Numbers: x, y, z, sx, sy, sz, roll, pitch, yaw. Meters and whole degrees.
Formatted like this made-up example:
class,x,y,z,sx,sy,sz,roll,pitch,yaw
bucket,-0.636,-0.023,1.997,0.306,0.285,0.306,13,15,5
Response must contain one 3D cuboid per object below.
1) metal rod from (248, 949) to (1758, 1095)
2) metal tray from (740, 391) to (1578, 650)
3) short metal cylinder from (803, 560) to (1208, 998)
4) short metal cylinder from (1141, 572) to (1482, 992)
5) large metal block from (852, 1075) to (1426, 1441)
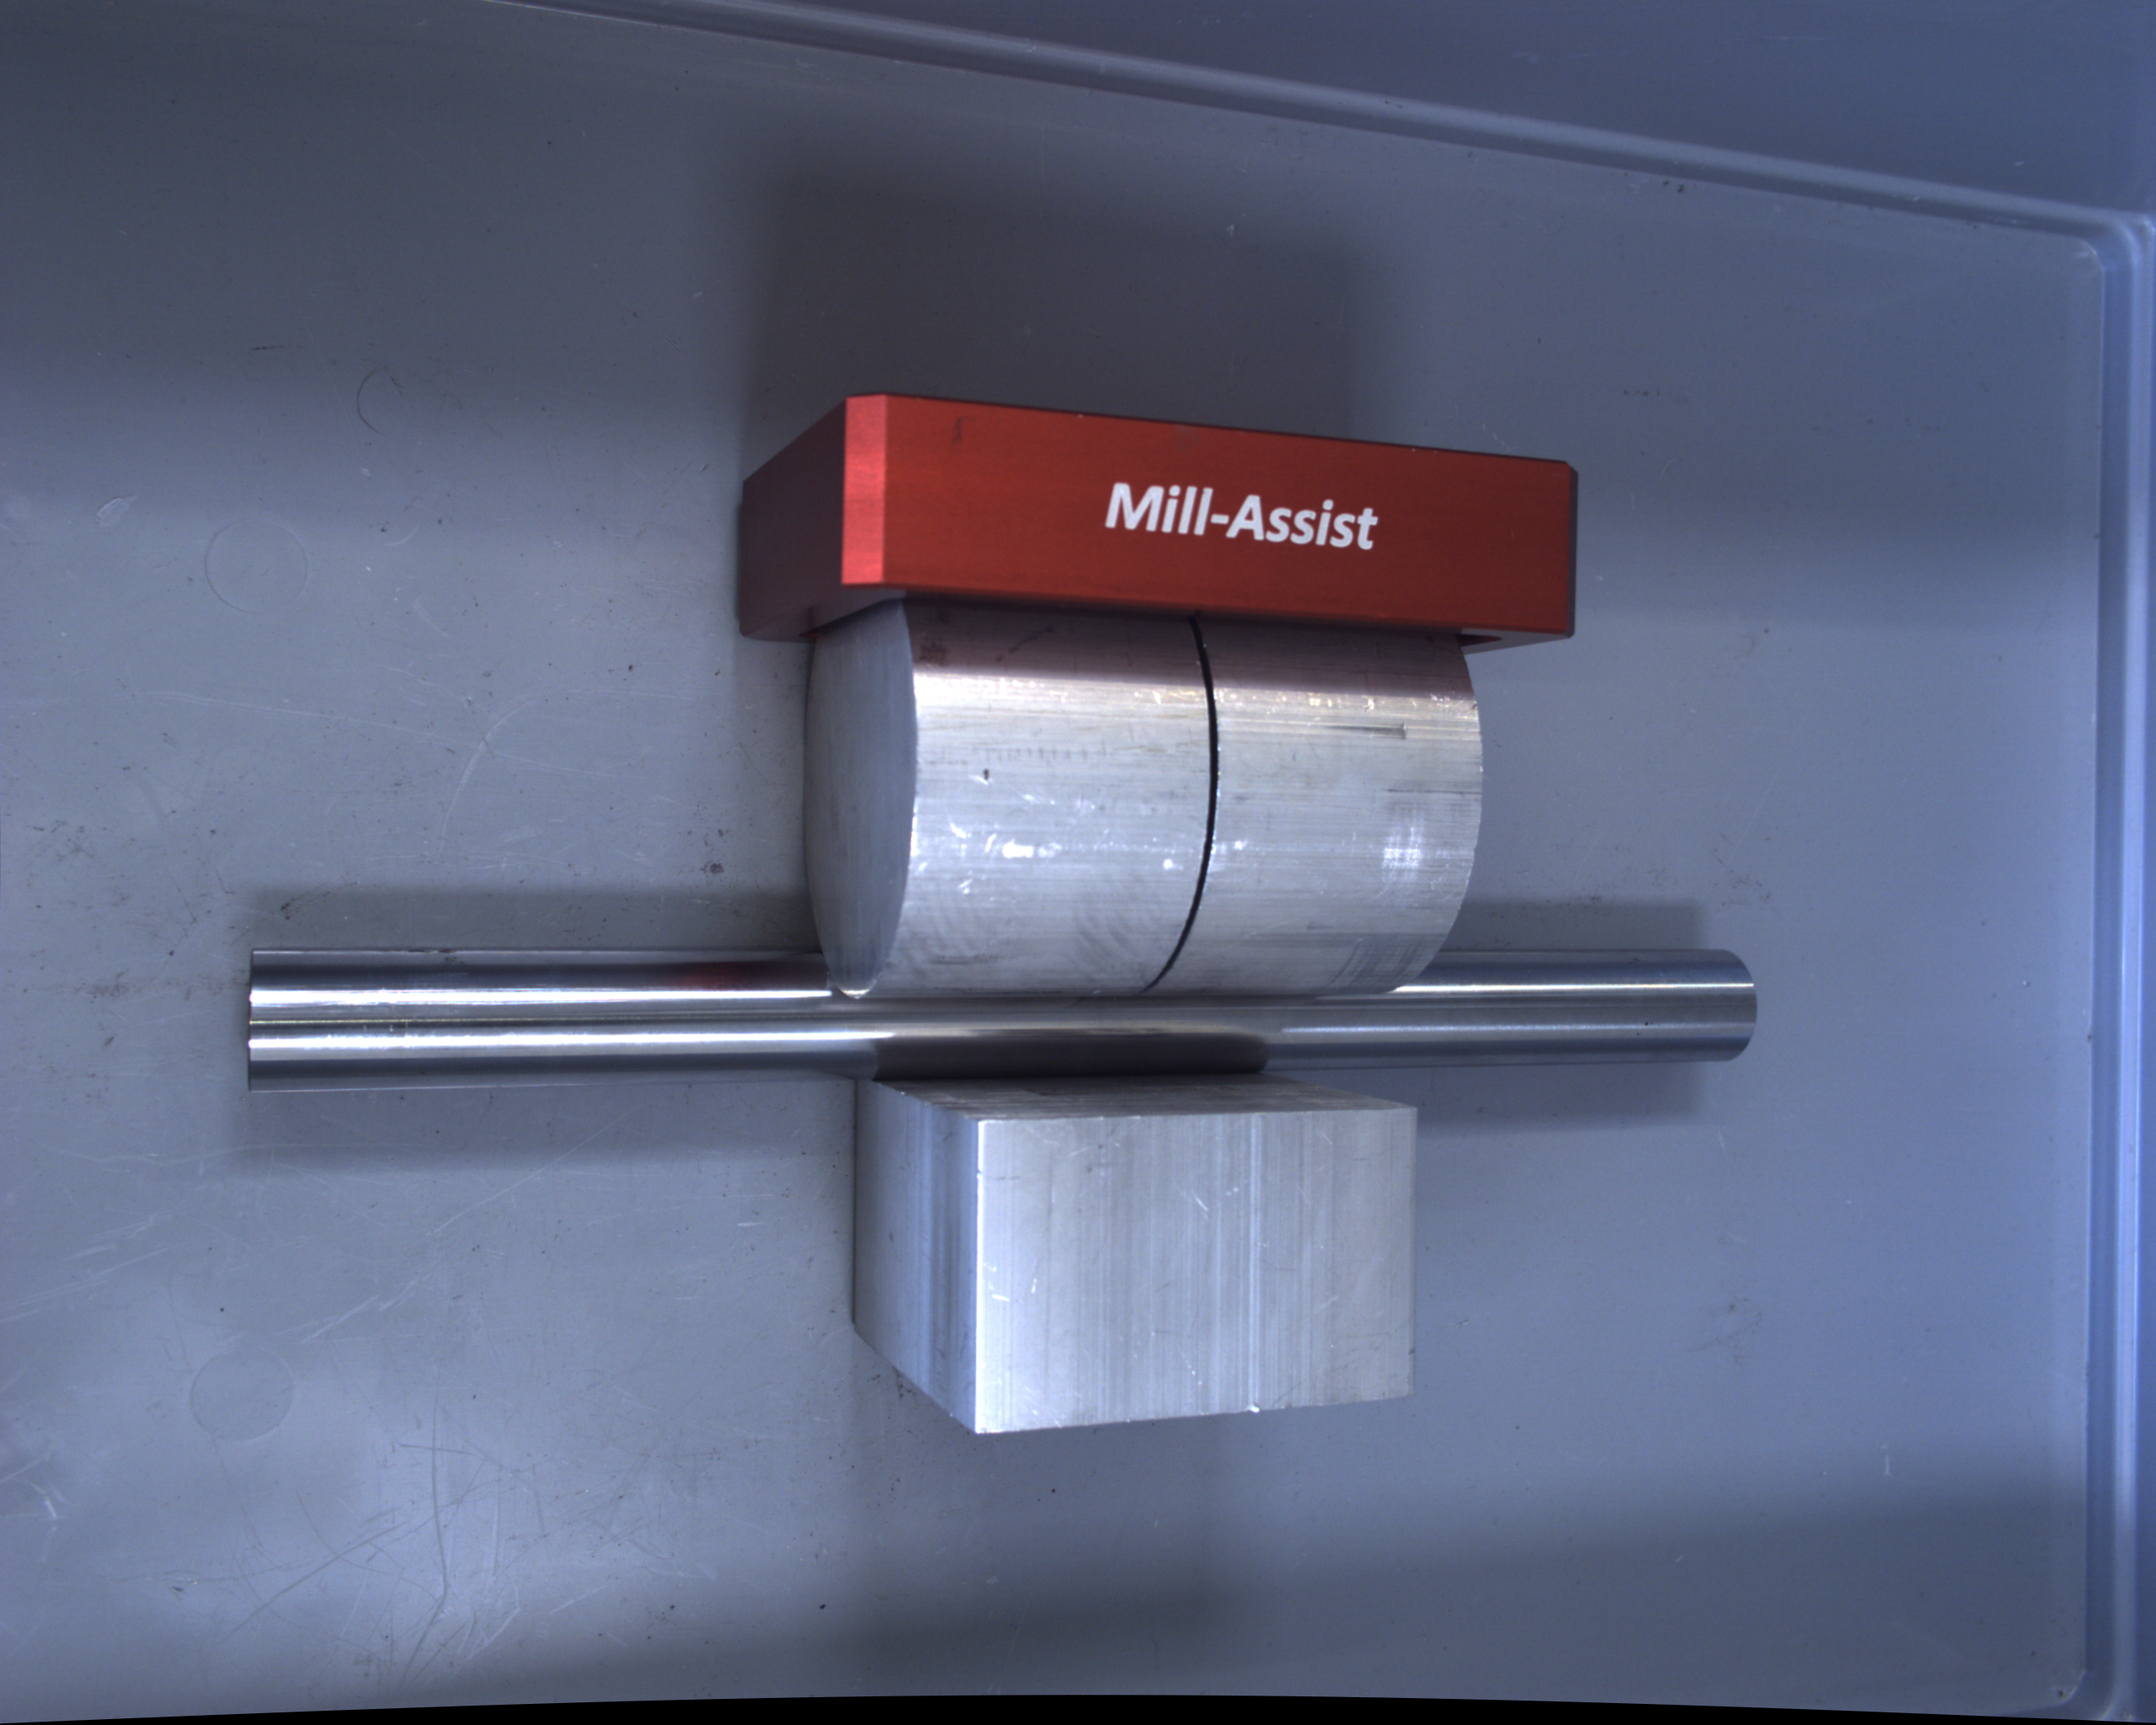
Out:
class,x,y,z,sx,sy,sz,roll,pitch,yaw
metal rod,0.000,0.029,0.409,0.303,0.025,0.025,1,90,-20
metal tray,0.012,-0.056,0.378,0.131,0.090,0.030,1,90,-20
short metal cylinder,-0.016,-0.016,0.375,0.050,0.080,0.079,1,90,-20
short metal cylinder,0.033,-0.016,0.393,0.050,0.080,0.079,2,90,-20
large metal block,0.008,0.067,0.382,0.081,0.080,0.050,1,90,-20
